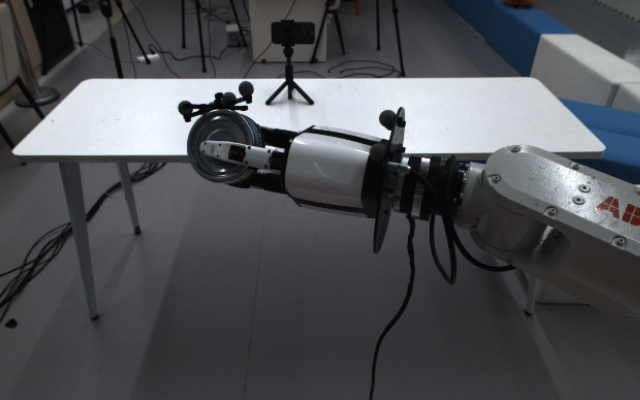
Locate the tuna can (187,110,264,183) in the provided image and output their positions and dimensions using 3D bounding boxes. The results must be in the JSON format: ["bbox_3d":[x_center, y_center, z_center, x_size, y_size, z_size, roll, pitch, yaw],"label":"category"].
[{"bbox_3d":[-0.105,-0.056,0.560,0.085,0.085,0.034,12,3,14],"label":"tuna can"}]
